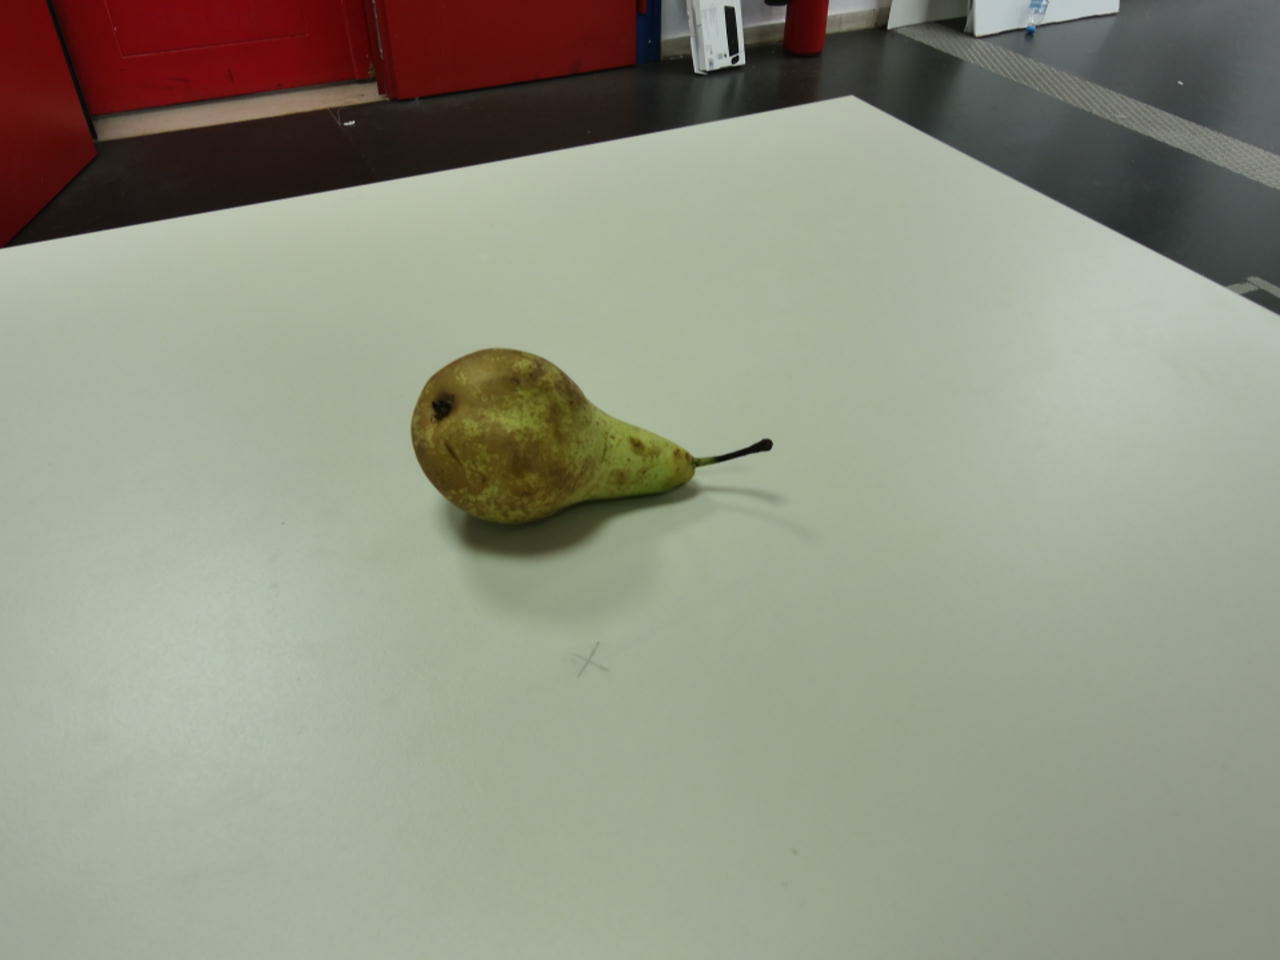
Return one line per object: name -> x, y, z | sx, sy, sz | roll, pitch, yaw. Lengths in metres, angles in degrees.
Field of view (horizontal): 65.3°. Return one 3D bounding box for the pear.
pear -> -0.023, -0.025, 0.422 | 0.144, 0.075, 0.071 | -13, 39, -16
